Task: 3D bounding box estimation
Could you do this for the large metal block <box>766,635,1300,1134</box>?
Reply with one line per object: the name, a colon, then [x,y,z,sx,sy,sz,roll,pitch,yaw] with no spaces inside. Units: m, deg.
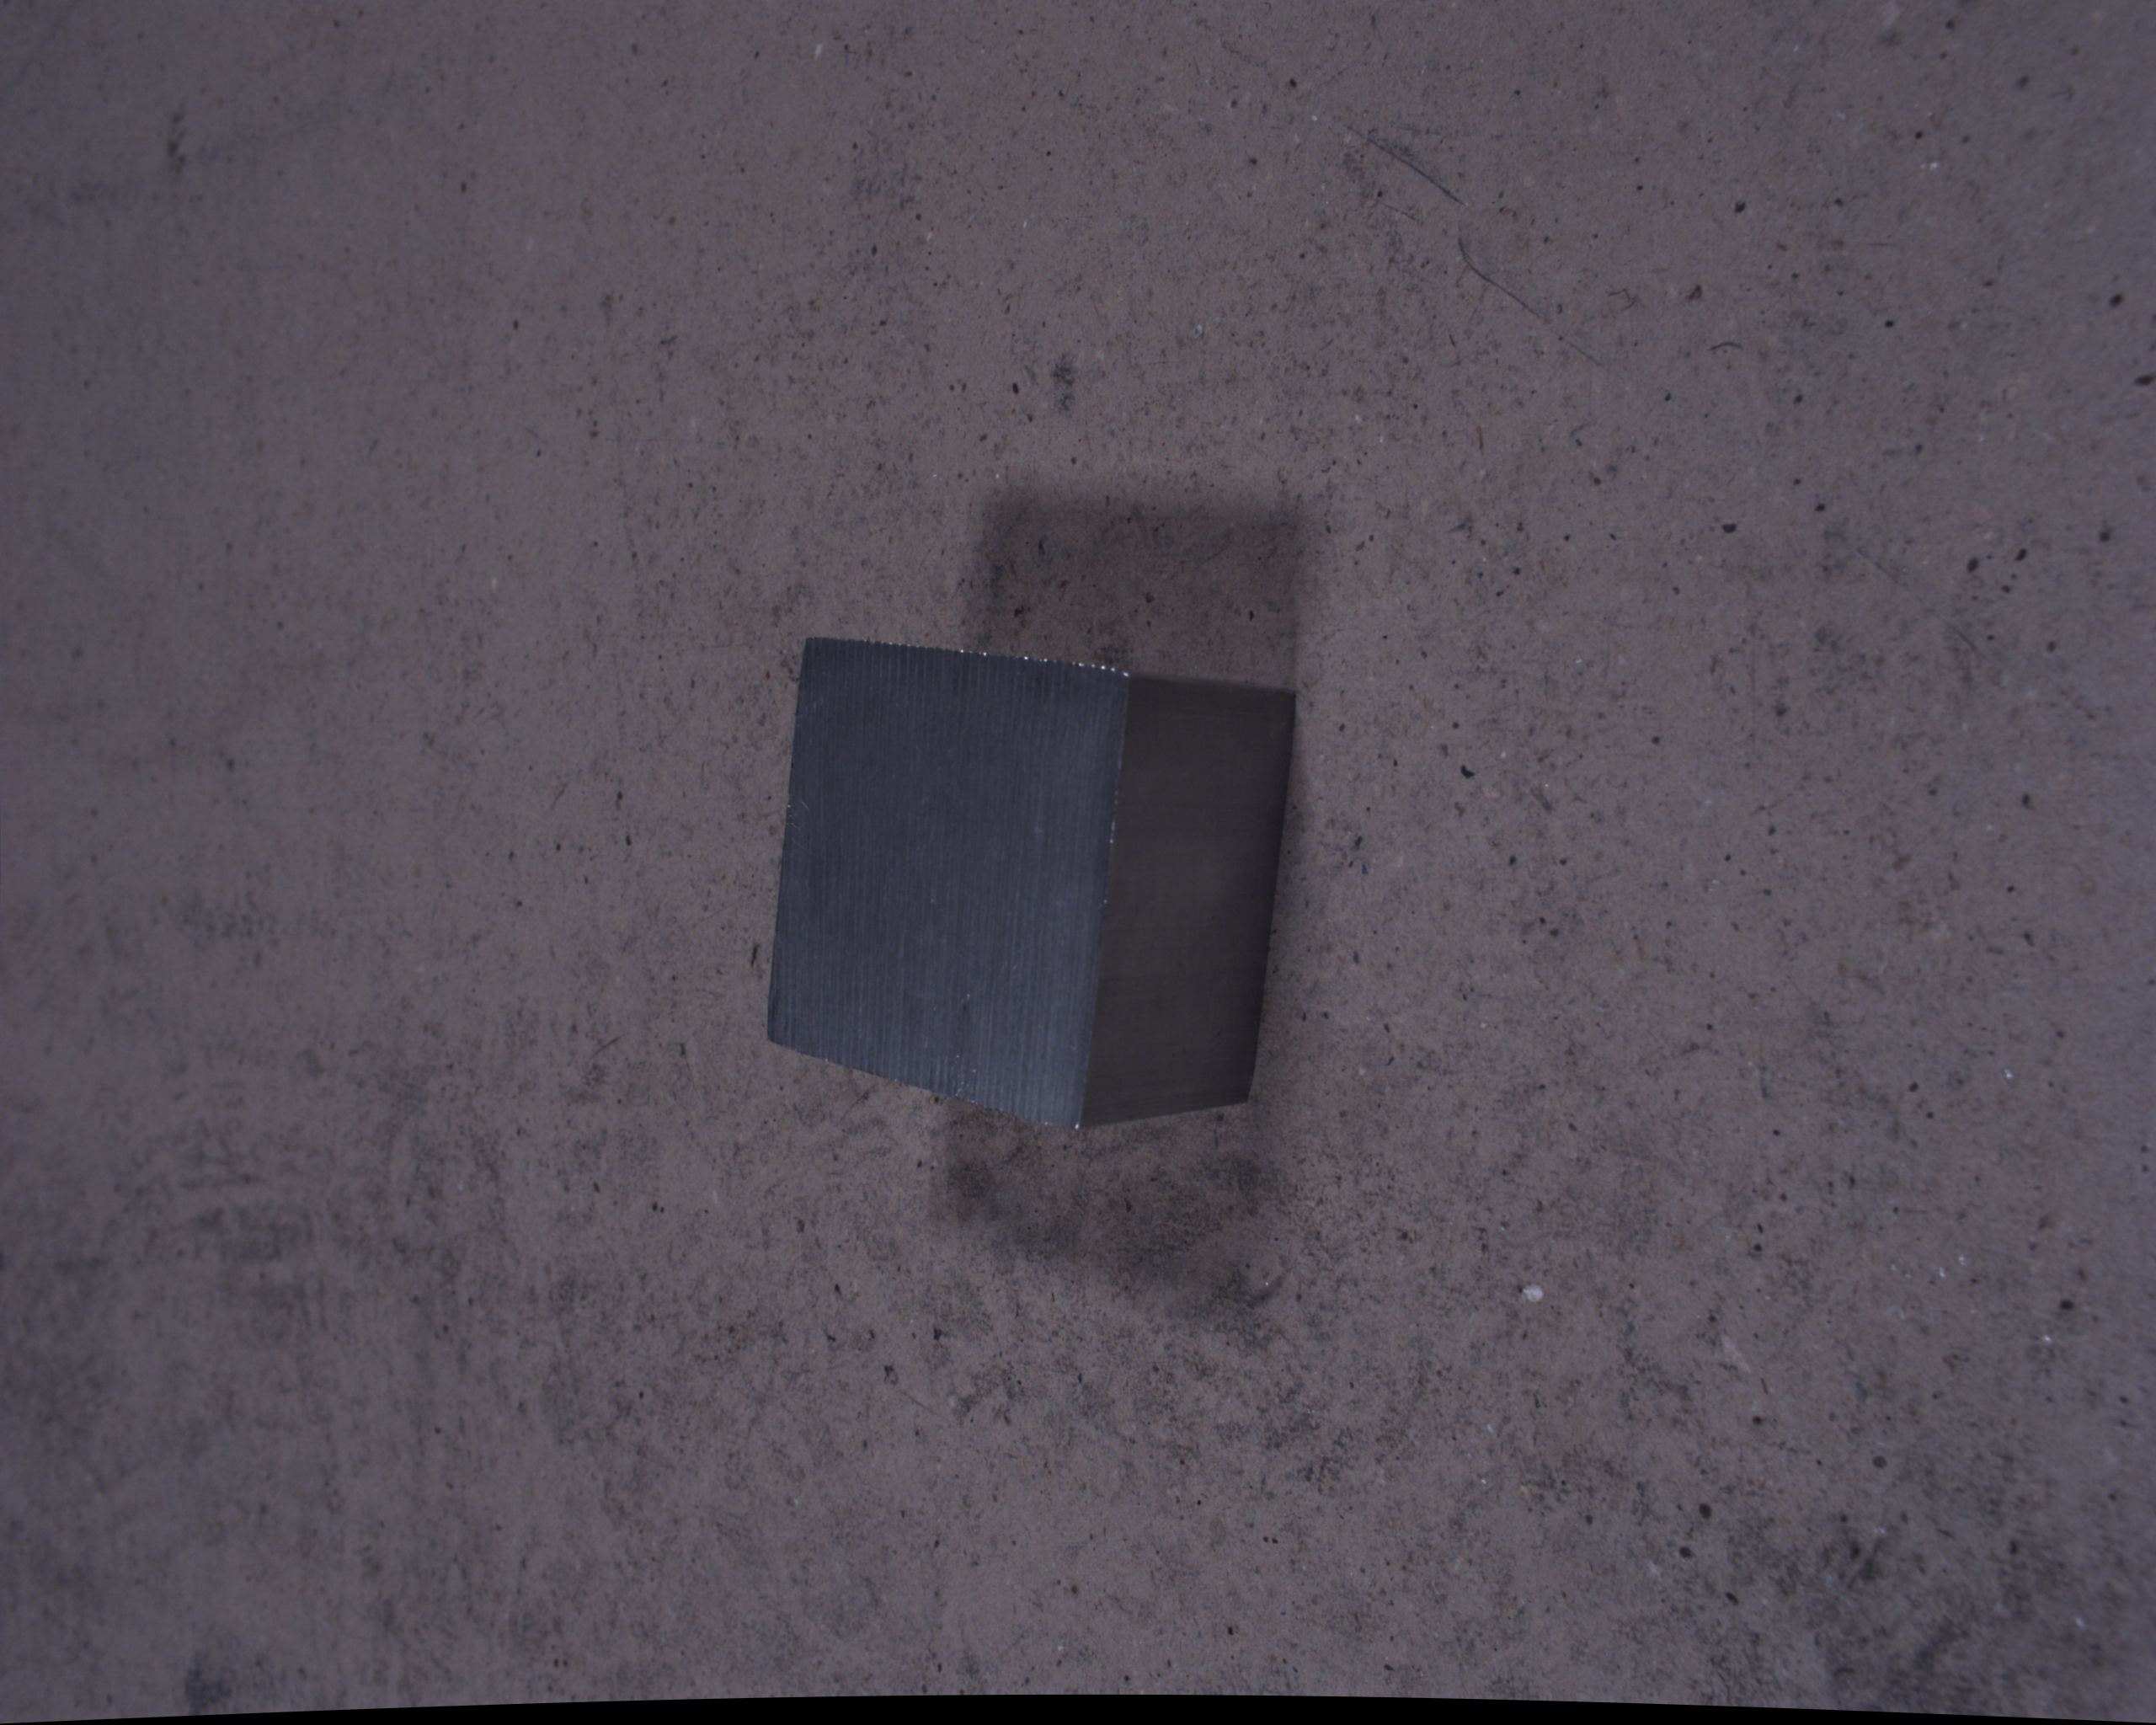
large metal block: [-0.010,0.001,0.396,0.080,0.050,0.079,10,97,39]
